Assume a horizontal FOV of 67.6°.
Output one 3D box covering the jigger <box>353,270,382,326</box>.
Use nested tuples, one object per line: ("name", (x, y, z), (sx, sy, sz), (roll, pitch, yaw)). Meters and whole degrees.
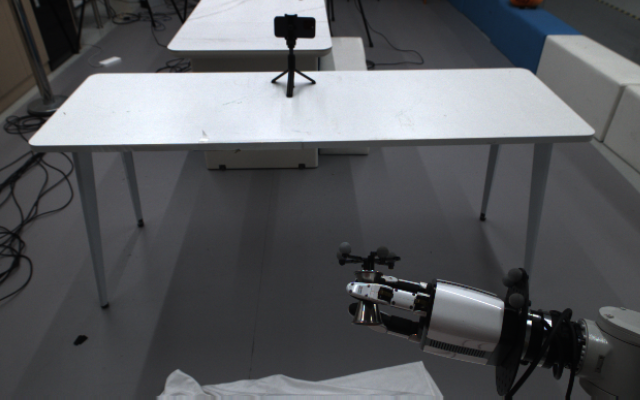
("jigger", (0.063, 0.130, 0.645), (0.043, 0.043, 0.071), (3, 72, 1))
